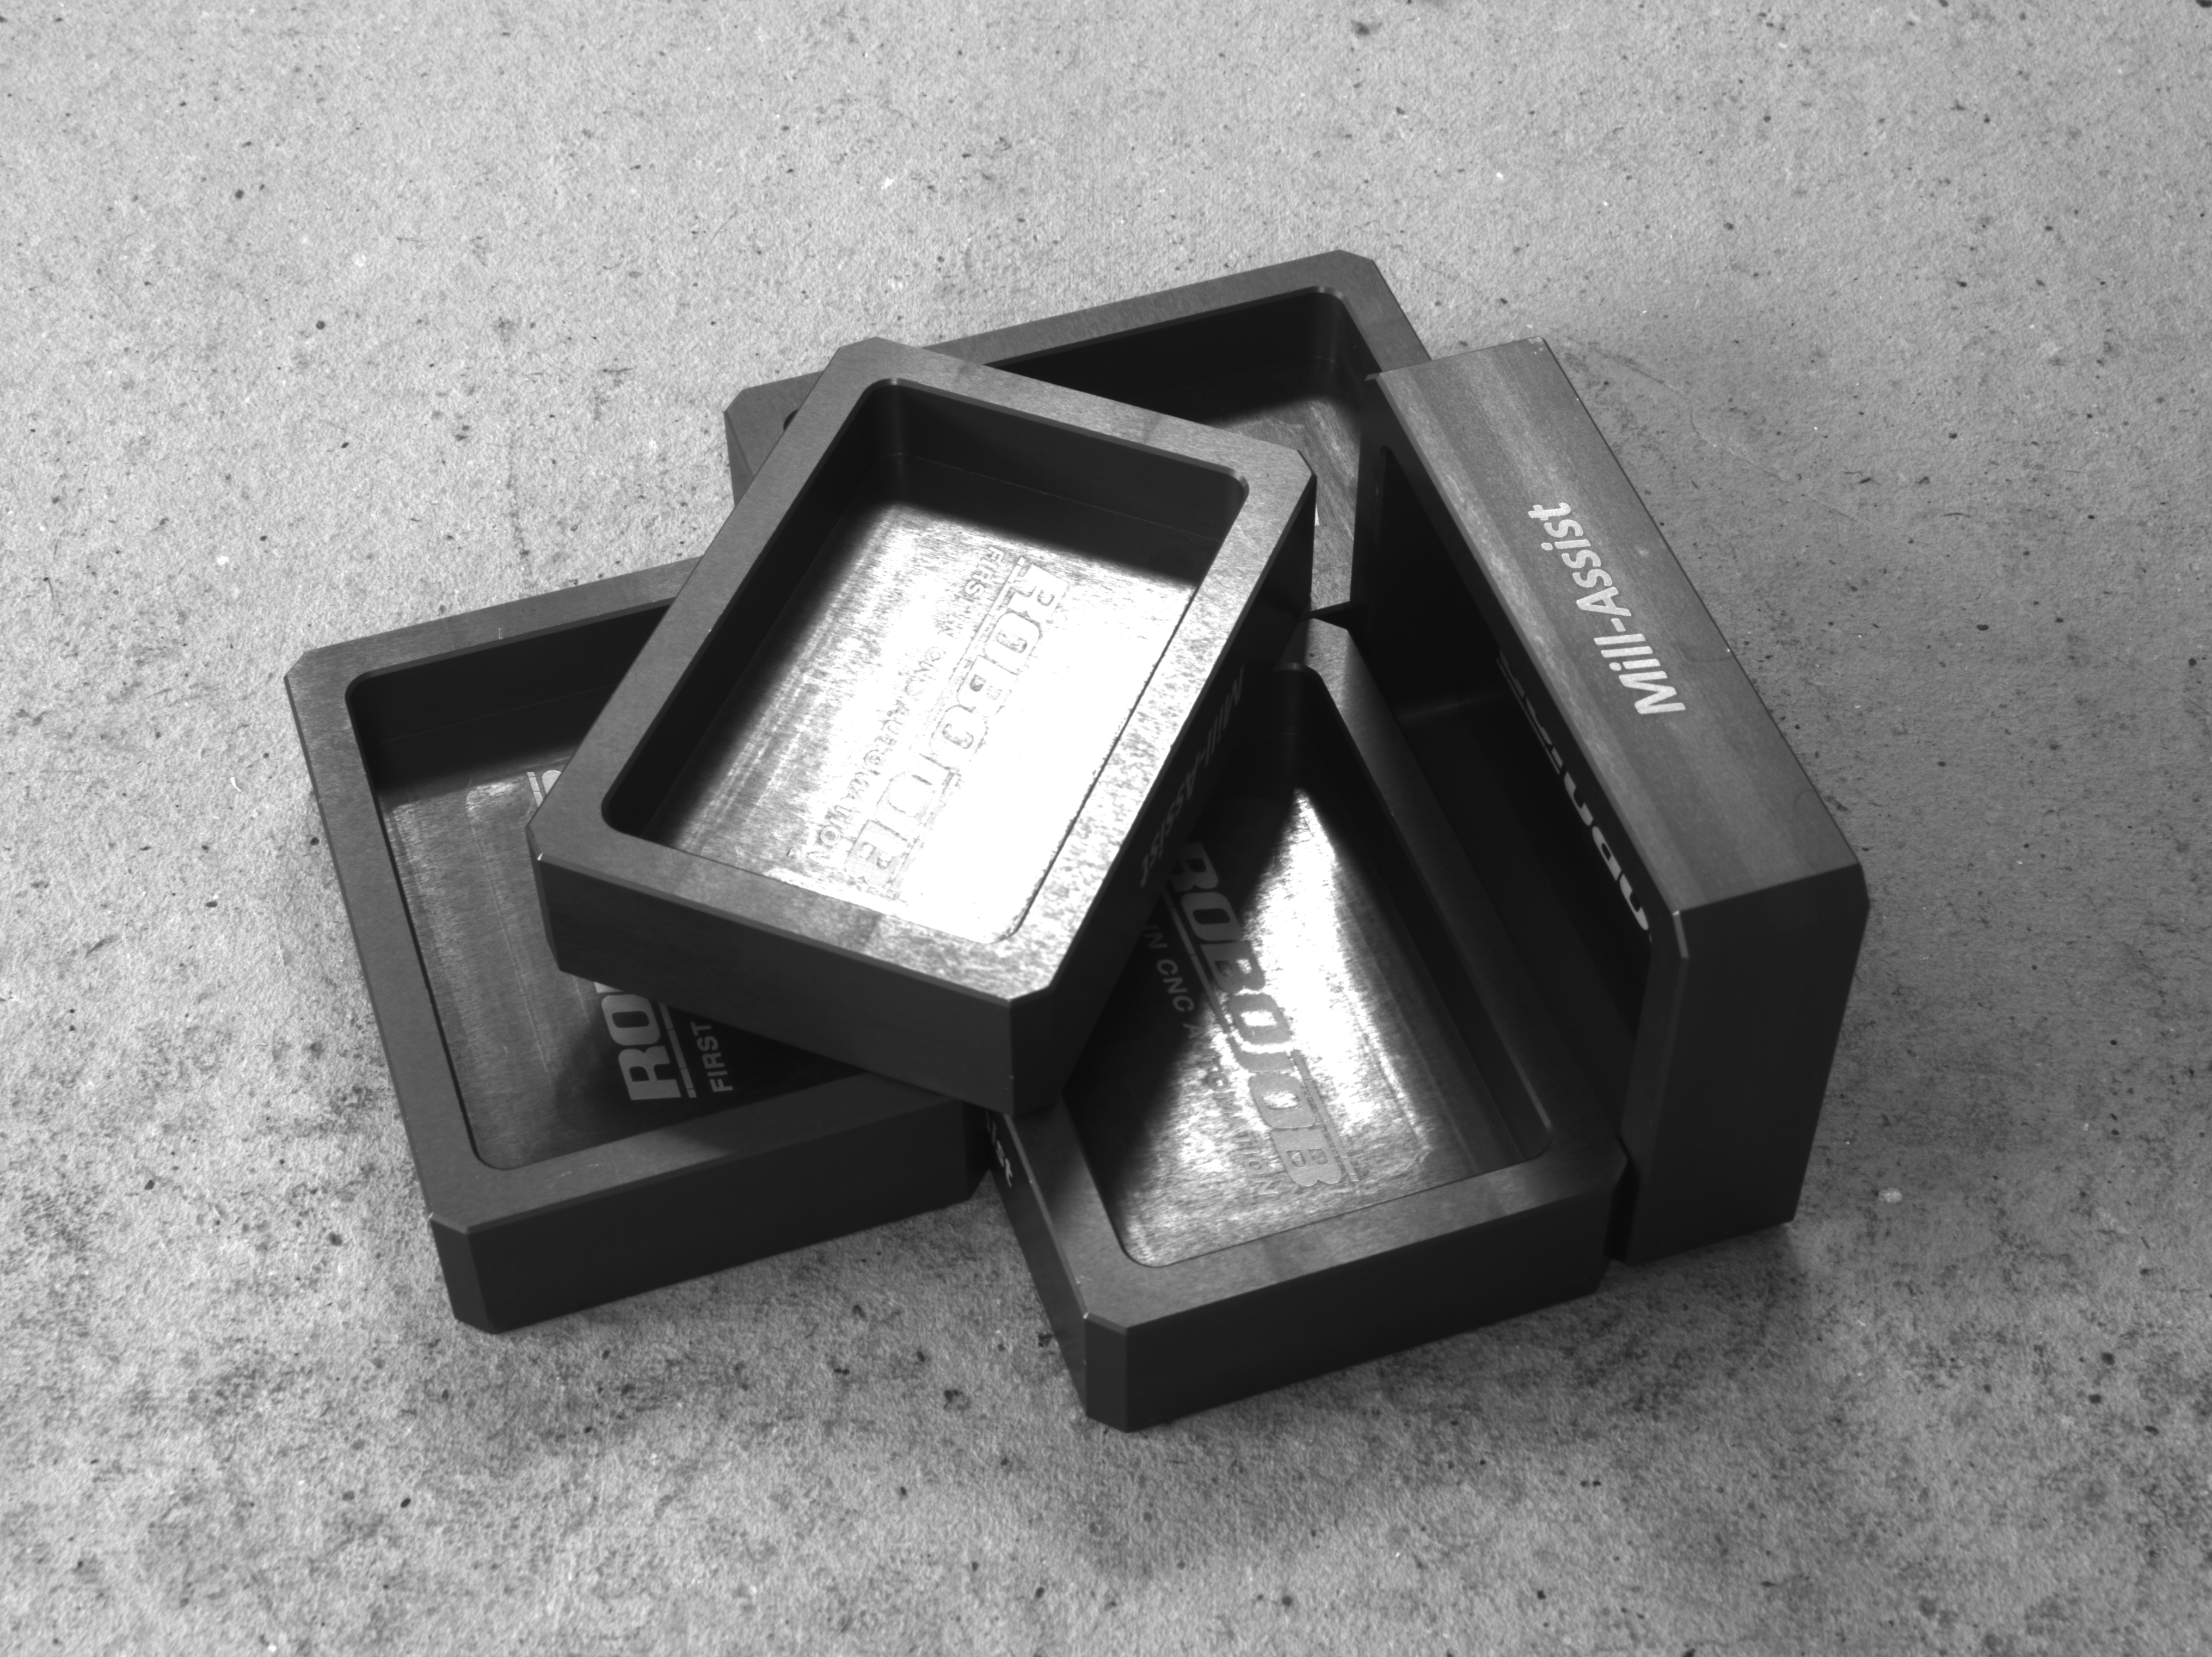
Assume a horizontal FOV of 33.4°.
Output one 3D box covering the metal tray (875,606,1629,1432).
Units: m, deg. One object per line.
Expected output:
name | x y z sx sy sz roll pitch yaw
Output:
metal tray | 0.020 0.028 0.614 0.090 0.030 0.130 -16 53 -11

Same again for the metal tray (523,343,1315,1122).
metal tray | -0.028 -0.020 0.619 0.090 0.030 0.130 17 52 14

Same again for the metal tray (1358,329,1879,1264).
metal tray | 0.079 -0.007 0.603 0.030 0.090 0.130 -14 51 -11

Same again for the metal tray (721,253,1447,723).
metal tray | 0.003 -0.055 0.688 0.130 0.030 0.090 -15 51 -11

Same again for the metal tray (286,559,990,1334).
metal tray | -0.081 0.015 0.626 0.090 0.030 0.130 -15 51 -11
